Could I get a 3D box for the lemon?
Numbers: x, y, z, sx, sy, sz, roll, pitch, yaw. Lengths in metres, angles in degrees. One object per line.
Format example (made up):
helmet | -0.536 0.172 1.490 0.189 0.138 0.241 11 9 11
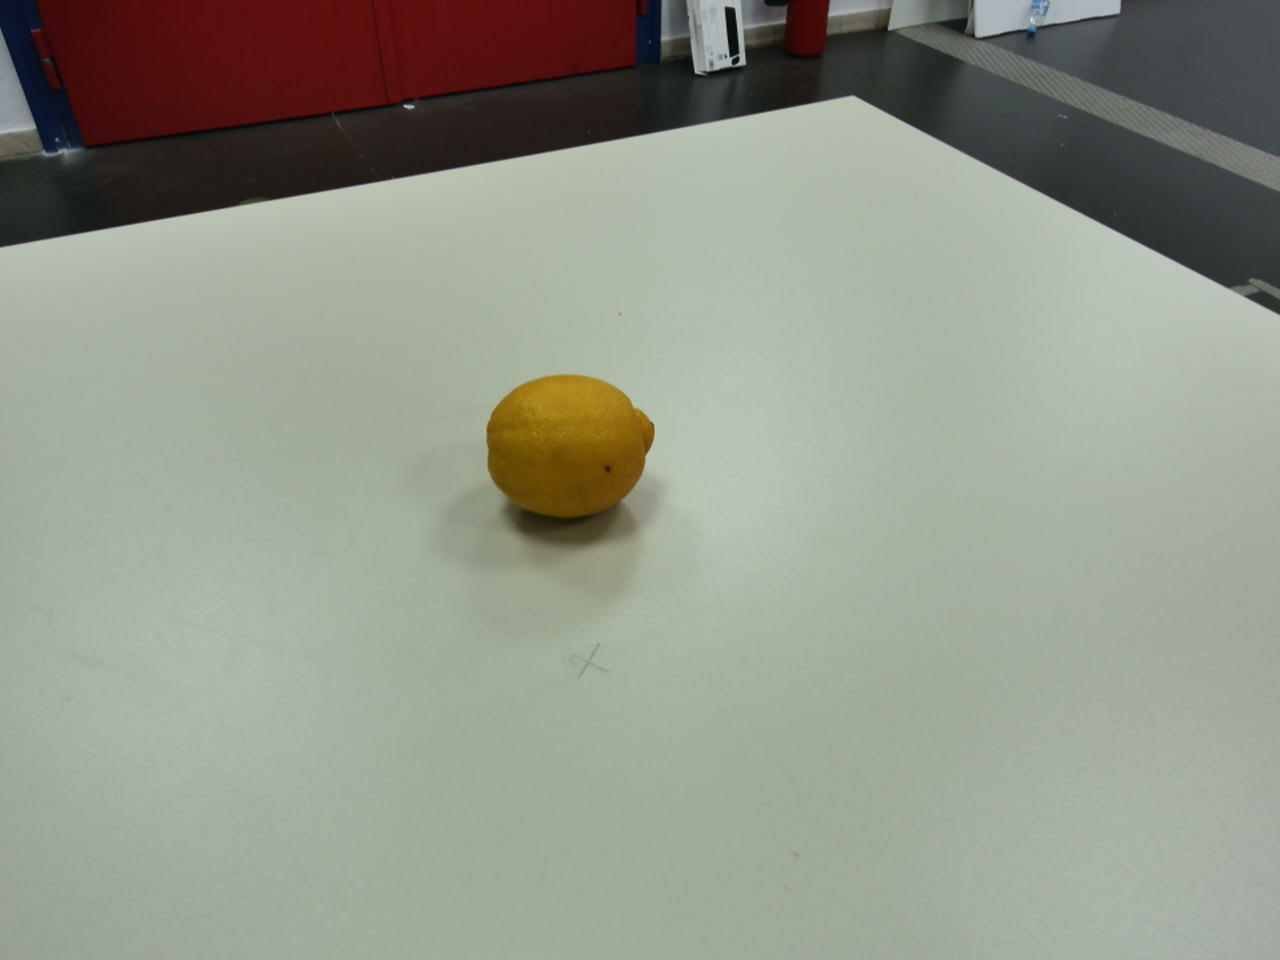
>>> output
lemon | -0.030 -0.013 0.416 0.067 0.059 0.060 9 39 12
